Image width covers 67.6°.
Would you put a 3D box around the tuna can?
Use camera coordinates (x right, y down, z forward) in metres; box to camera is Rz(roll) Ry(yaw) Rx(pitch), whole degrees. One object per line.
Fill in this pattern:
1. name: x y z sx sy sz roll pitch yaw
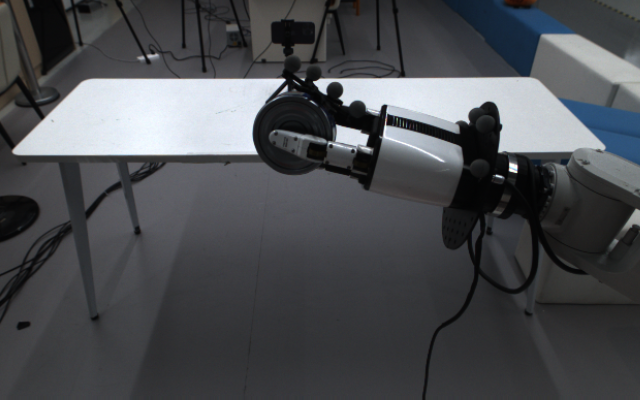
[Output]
1. tuna can: -0.023 -0.065 0.509 0.085 0.085 0.034 7 19 6
